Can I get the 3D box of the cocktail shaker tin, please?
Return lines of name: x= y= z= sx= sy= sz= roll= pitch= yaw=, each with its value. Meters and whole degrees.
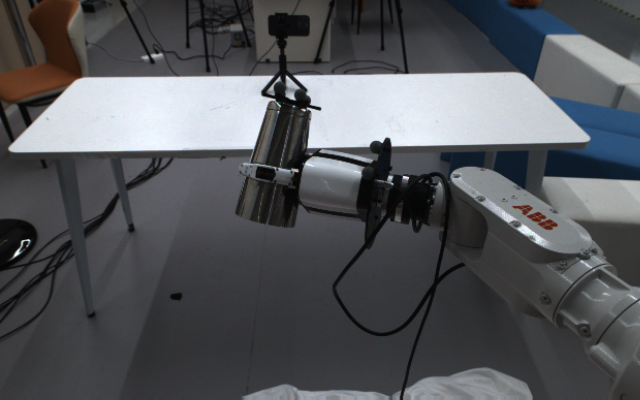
cocktail shaker tin: x=-0.062 y=-0.054 z=0.714 sx=0.093 sy=0.170 sz=0.093 roll=13 pitch=4 yaw=-1
